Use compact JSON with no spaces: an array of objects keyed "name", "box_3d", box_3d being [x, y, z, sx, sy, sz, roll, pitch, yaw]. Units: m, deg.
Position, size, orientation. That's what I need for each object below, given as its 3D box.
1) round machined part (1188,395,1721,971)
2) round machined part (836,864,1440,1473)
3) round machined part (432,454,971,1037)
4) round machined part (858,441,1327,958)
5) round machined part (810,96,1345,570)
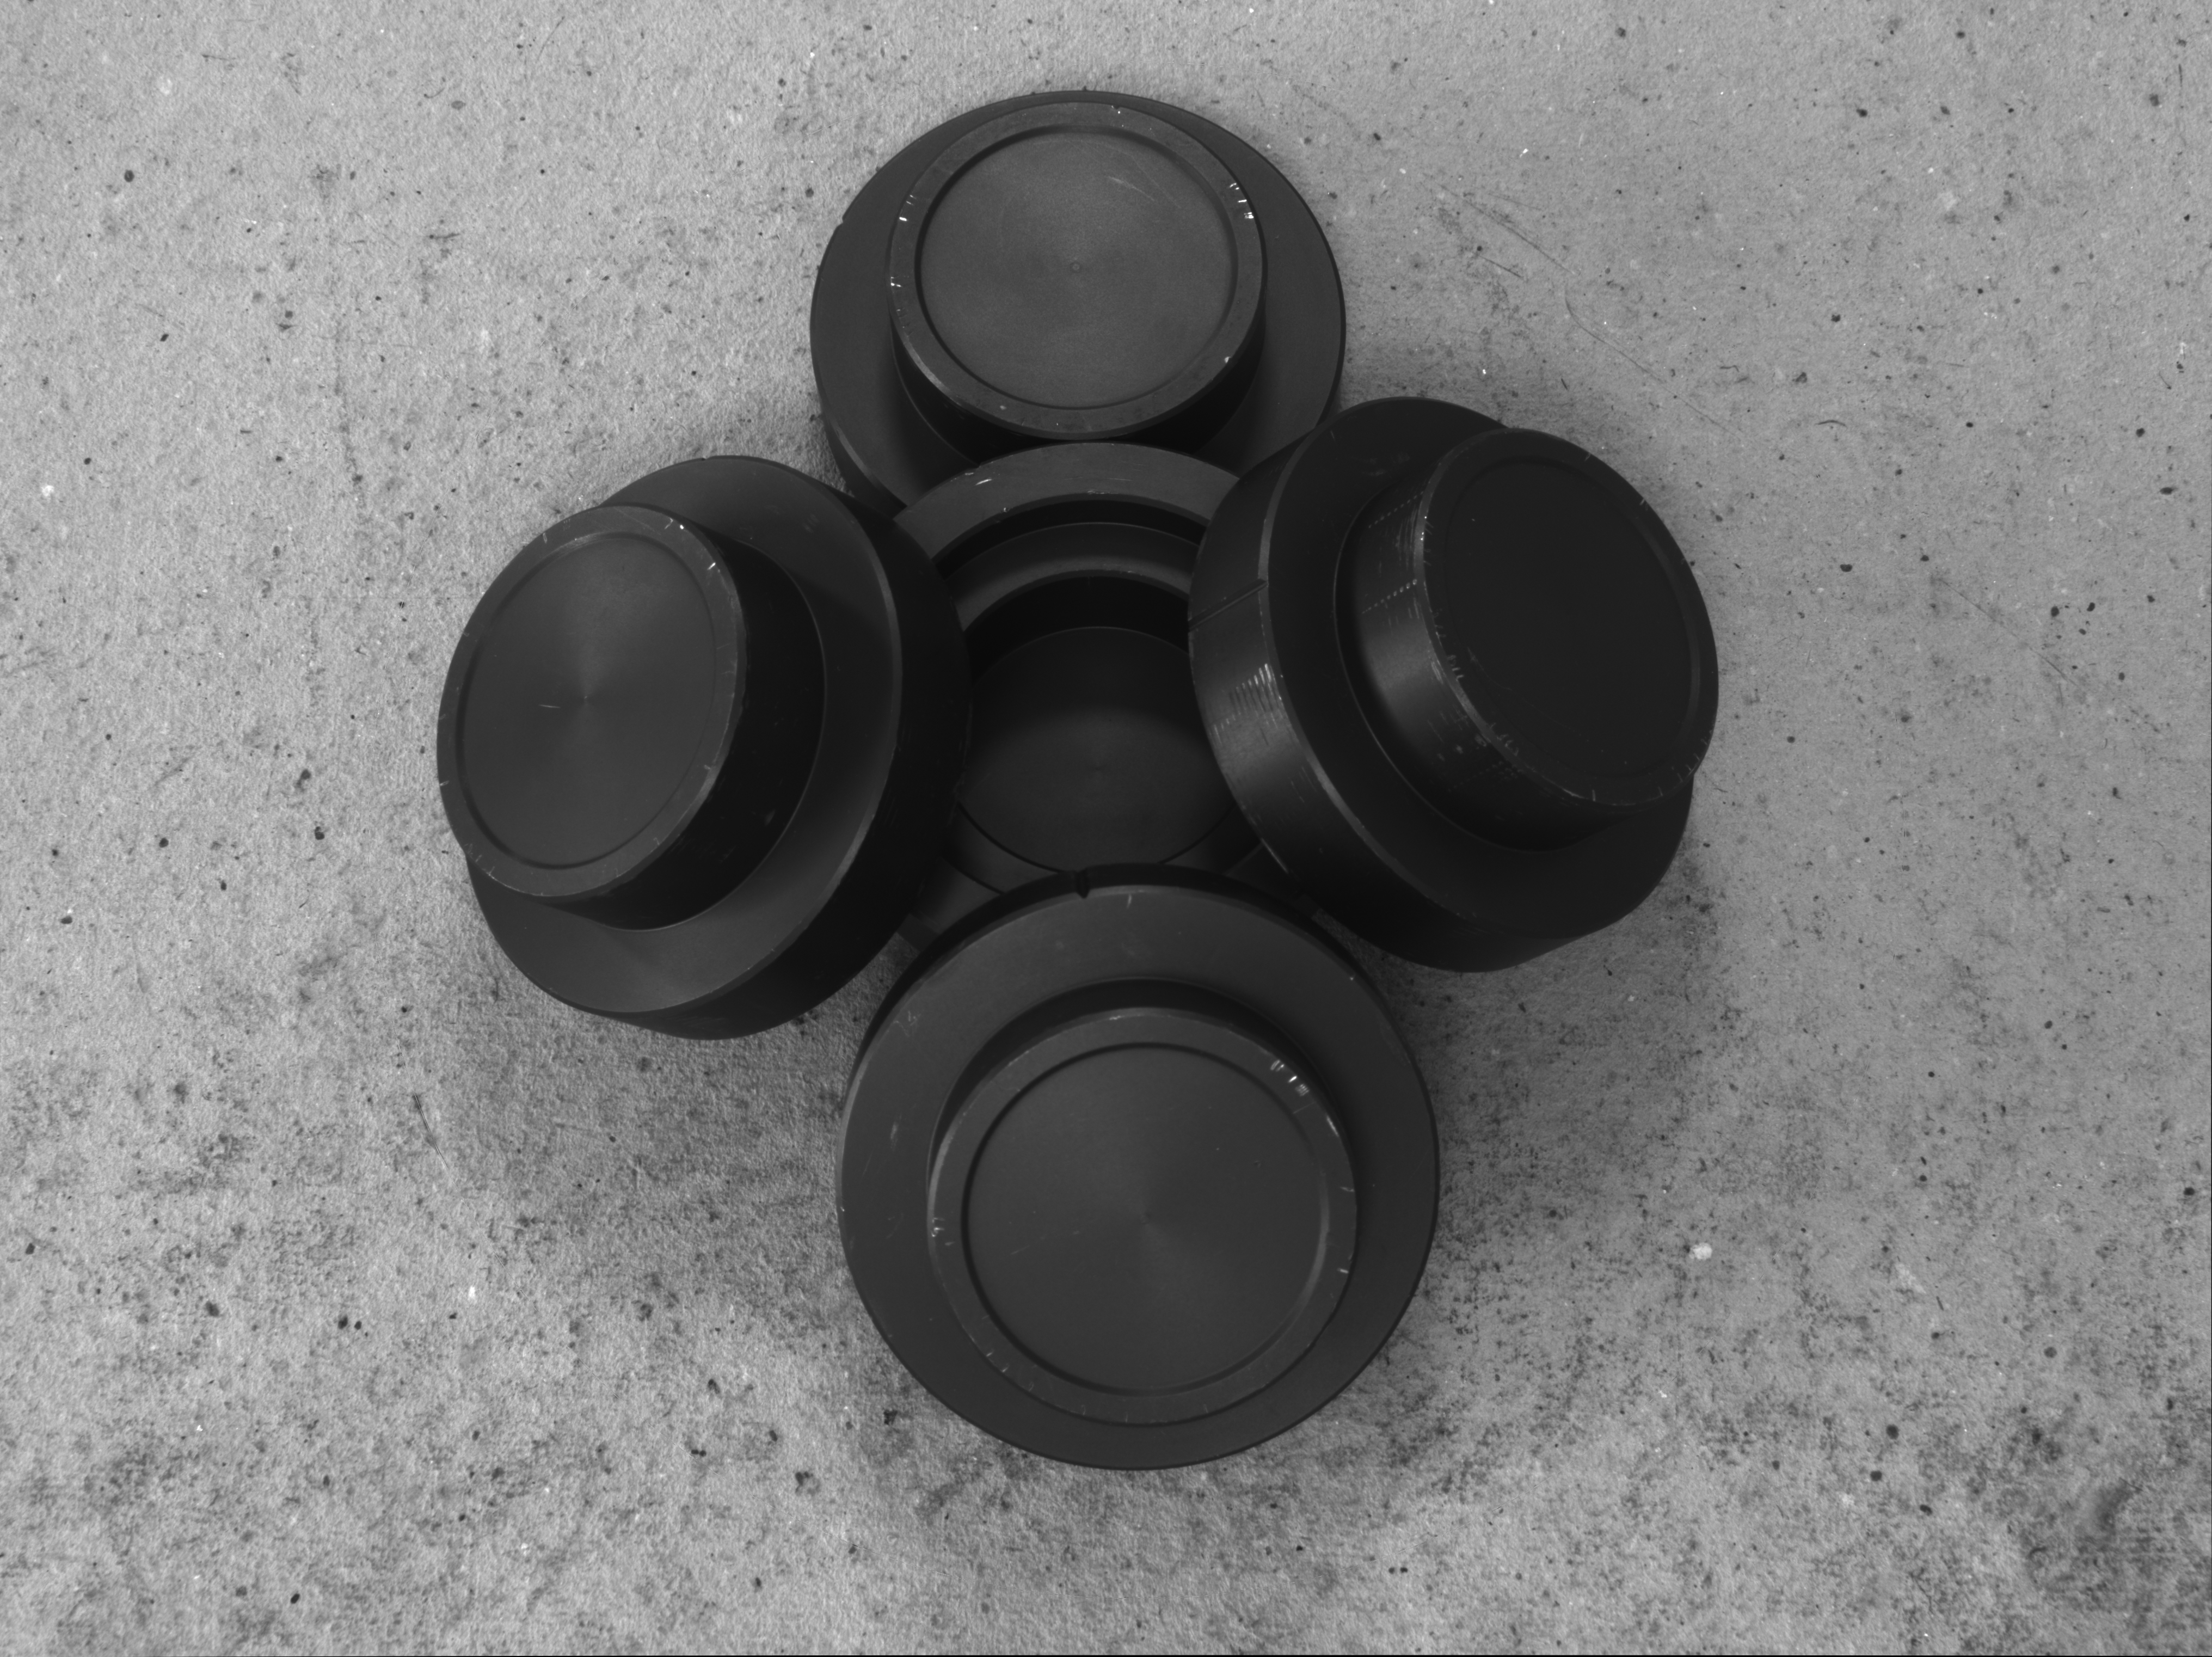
[{"name":"round machined part","box_3d":[0.065,-0.029,0.619,0.098,0.042,0.098,17,61,-32]},{"name":"round machined part","box_3d":[0.005,0.058,0.592,0.098,0.042,0.098,0,100,-2]},{"name":"round machined part","box_3d":[-0.074,-0.016,0.616,0.098,0.042,0.098,-10,71,32]},{"name":"round machined part","box_3d":[-0.001,-0.015,0.641,0.098,0.042,0.098,-1,69,2]},{"name":"round machined part","box_3d":[-0.005,-0.093,0.670,0.098,0.042,0.098,0,68,0]}]
